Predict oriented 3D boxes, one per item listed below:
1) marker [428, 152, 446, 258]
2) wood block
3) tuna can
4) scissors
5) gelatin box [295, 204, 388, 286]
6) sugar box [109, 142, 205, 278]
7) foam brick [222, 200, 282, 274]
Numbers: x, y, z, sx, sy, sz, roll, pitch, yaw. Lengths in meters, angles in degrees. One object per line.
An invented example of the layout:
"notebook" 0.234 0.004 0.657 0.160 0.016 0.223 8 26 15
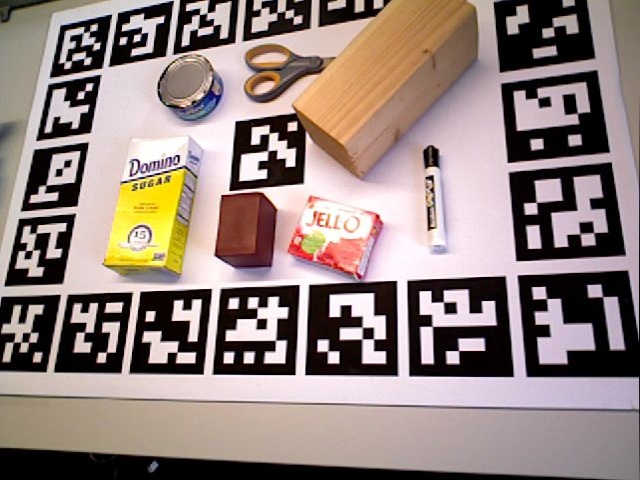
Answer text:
"marker" 0.130 -0.040 0.605 0.020 0.019 0.120 -2 76 17
"wood block" 0.089 -0.176 0.626 0.206 0.091 0.090 -47 65 -1
"tuna can" -0.181 -0.201 0.749 0.086 0.034 0.085 -6 73 17
"scissors" -0.012 -0.218 0.710 0.204 0.016 0.087 3 75 22
"gelatin box" 0.024 0.004 0.623 0.089 0.030 0.073 15 80 22
"sugar box" -0.210 -0.039 0.709 0.093 0.045 0.175 1 74 18
"foam brick" -0.079 -0.002 0.644 0.053 0.051 0.077 -2 74 18
